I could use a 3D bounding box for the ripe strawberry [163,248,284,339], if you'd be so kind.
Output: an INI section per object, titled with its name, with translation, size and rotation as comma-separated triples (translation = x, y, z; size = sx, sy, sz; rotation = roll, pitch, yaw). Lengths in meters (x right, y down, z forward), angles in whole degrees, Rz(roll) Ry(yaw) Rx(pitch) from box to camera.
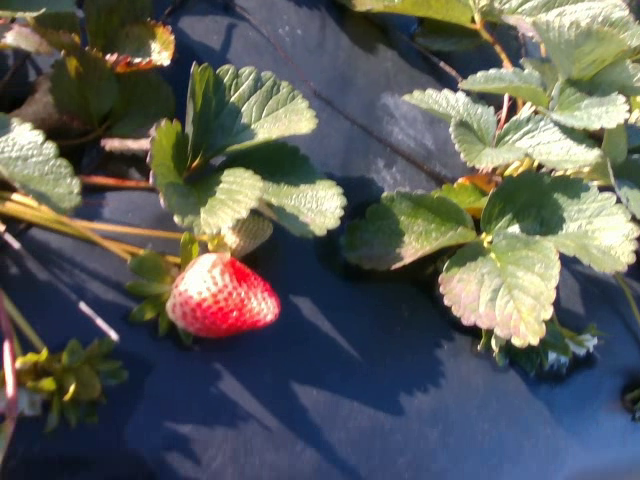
[ripe strawberry]
translation = -0.031, 0.020, 0.217
size = 0.045, 0.037, 0.042
rotation = 4, 20, 33
